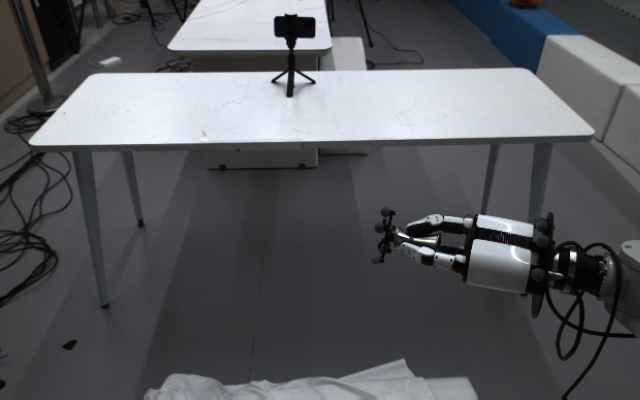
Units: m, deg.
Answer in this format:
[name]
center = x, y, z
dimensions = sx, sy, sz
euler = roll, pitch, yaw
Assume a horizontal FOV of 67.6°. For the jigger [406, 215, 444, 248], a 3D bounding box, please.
[jigger]
center = 0.163, 0.065, 0.780
dimensions = 0.071, 0.043, 0.043
euler = 10, 35, 22
